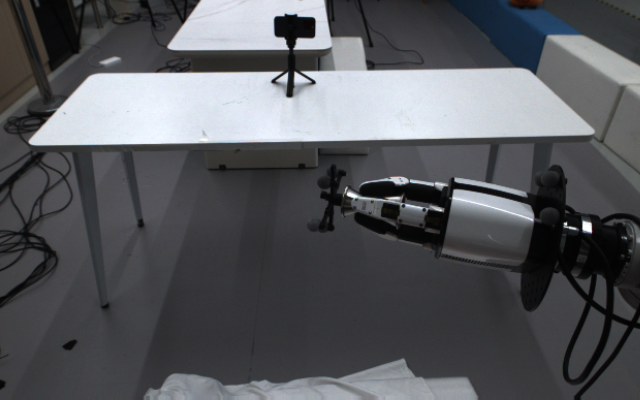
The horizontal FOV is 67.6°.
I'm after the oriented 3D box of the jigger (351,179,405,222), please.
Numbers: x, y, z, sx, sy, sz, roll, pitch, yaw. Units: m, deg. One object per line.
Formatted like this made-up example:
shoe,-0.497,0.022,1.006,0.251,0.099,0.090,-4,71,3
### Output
jigger,0.069,0.004,0.569,0.071,0.043,0.043,10,35,16
